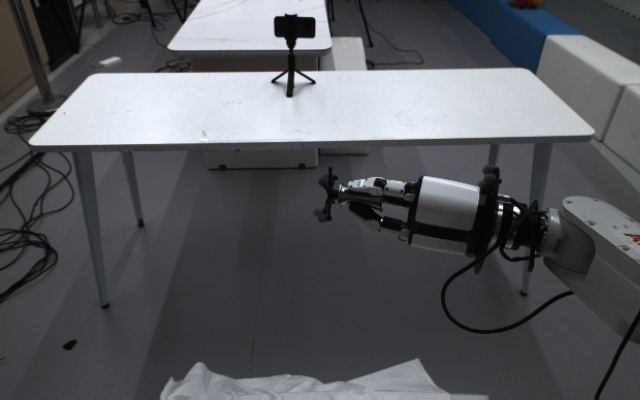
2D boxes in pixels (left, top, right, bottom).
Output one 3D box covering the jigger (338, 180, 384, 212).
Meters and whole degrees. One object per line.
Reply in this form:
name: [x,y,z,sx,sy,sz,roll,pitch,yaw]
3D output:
jigger: [0.072,-0.009,0.756,0.071,0.043,0.043,5,35,11]
